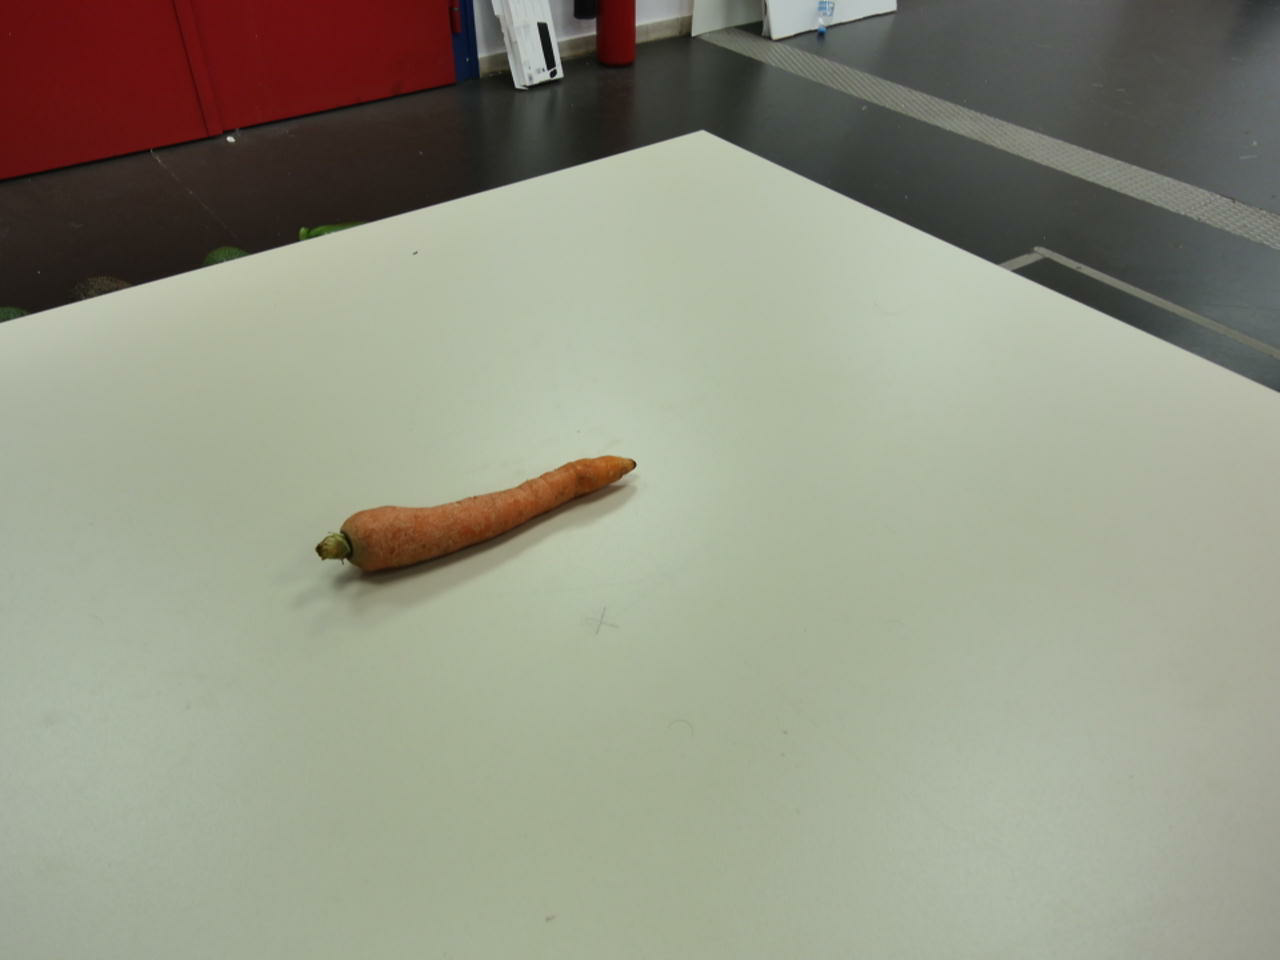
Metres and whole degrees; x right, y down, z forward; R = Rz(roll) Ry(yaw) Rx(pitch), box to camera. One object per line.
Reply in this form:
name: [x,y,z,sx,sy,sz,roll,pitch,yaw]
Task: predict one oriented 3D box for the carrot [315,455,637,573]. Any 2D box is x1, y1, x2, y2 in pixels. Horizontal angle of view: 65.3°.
carrot: [-0.075,0.012,0.499,0.173,0.032,0.030,-18,42,-23]
